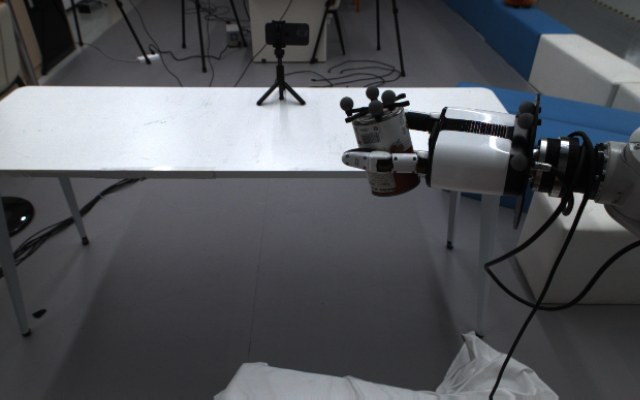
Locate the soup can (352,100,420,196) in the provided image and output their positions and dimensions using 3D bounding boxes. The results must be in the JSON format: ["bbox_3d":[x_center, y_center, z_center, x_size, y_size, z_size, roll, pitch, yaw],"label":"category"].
[{"bbox_3d":[0.085,-0.065,0.617,0.067,0.101,0.067,-16,23,7],"label":"soup can"}]
